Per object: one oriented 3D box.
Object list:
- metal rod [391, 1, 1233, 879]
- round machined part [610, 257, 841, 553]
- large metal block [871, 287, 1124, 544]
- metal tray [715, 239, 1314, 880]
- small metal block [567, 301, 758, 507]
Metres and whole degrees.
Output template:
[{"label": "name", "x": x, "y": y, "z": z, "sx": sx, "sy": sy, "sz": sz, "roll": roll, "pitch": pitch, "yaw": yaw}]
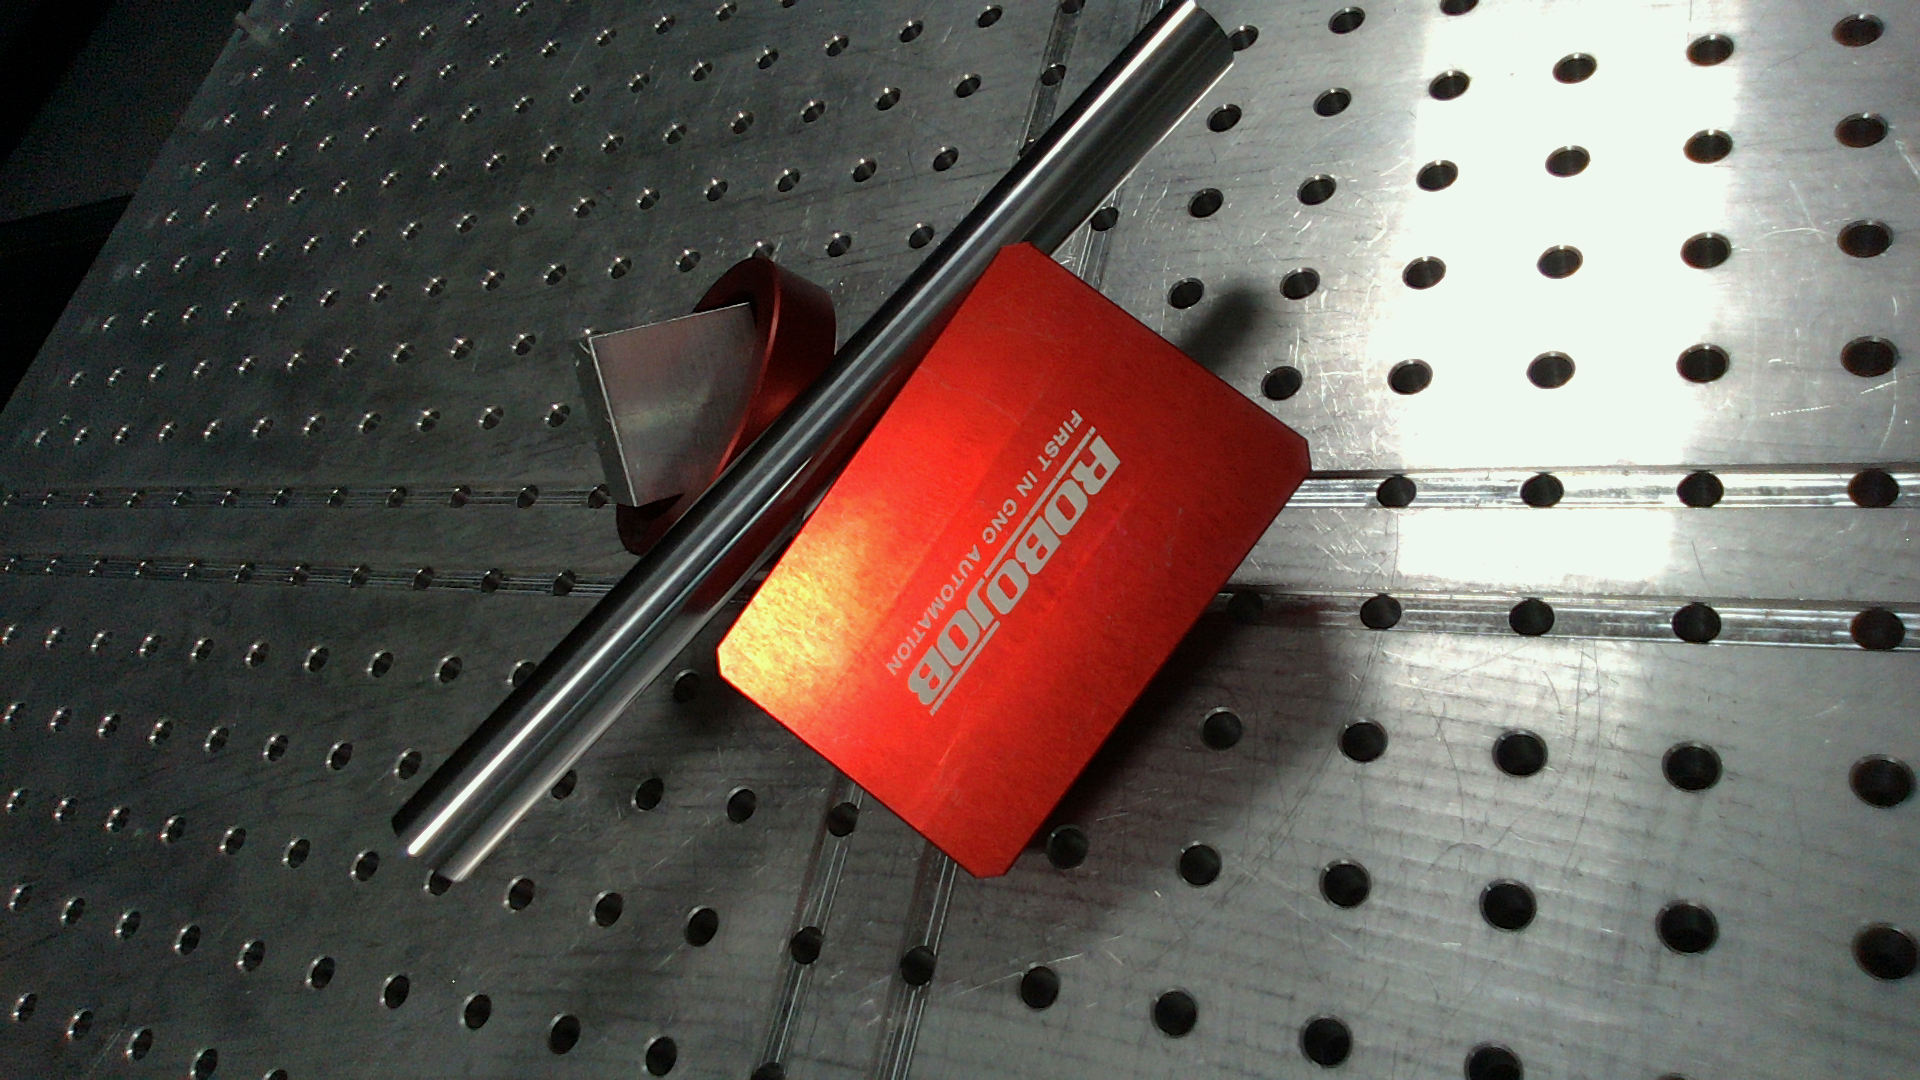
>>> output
[{"label": "metal rod", "x": -0.036, "y": -0.030, "z": 0.370, "sx": 0.300, "sy": 0.025, "sz": 0.025, "roll": -47, "pitch": 51, "yaw": -5}, {"label": "round machined part", "x": -0.065, "y": -0.034, "z": 0.425, "sx": 0.098, "sy": 0.042, "sz": 0.098, "roll": -35, "pitch": 40, "yaw": 38}, {"label": "large metal block", "x": 0.006, "y": -0.023, "z": 0.391, "sx": 0.080, "sy": 0.050, "sz": 0.080, "roll": 9, "pitch": 66, "yaw": 32}, {"label": "metal tray", "x": 0.013, "y": 0.005, "z": 0.340, "sx": 0.090, "sy": 0.030, "sz": 0.130, "roll": 37, "pitch": 96, "yaw": 7}, {"label": "small metal block", "x": -0.085, "y": -0.042, "z": 0.416, "sx": 0.050, "sy": 0.050, "sz": 0.025, "roll": -18, "pitch": 14, "yaw": -26}]
